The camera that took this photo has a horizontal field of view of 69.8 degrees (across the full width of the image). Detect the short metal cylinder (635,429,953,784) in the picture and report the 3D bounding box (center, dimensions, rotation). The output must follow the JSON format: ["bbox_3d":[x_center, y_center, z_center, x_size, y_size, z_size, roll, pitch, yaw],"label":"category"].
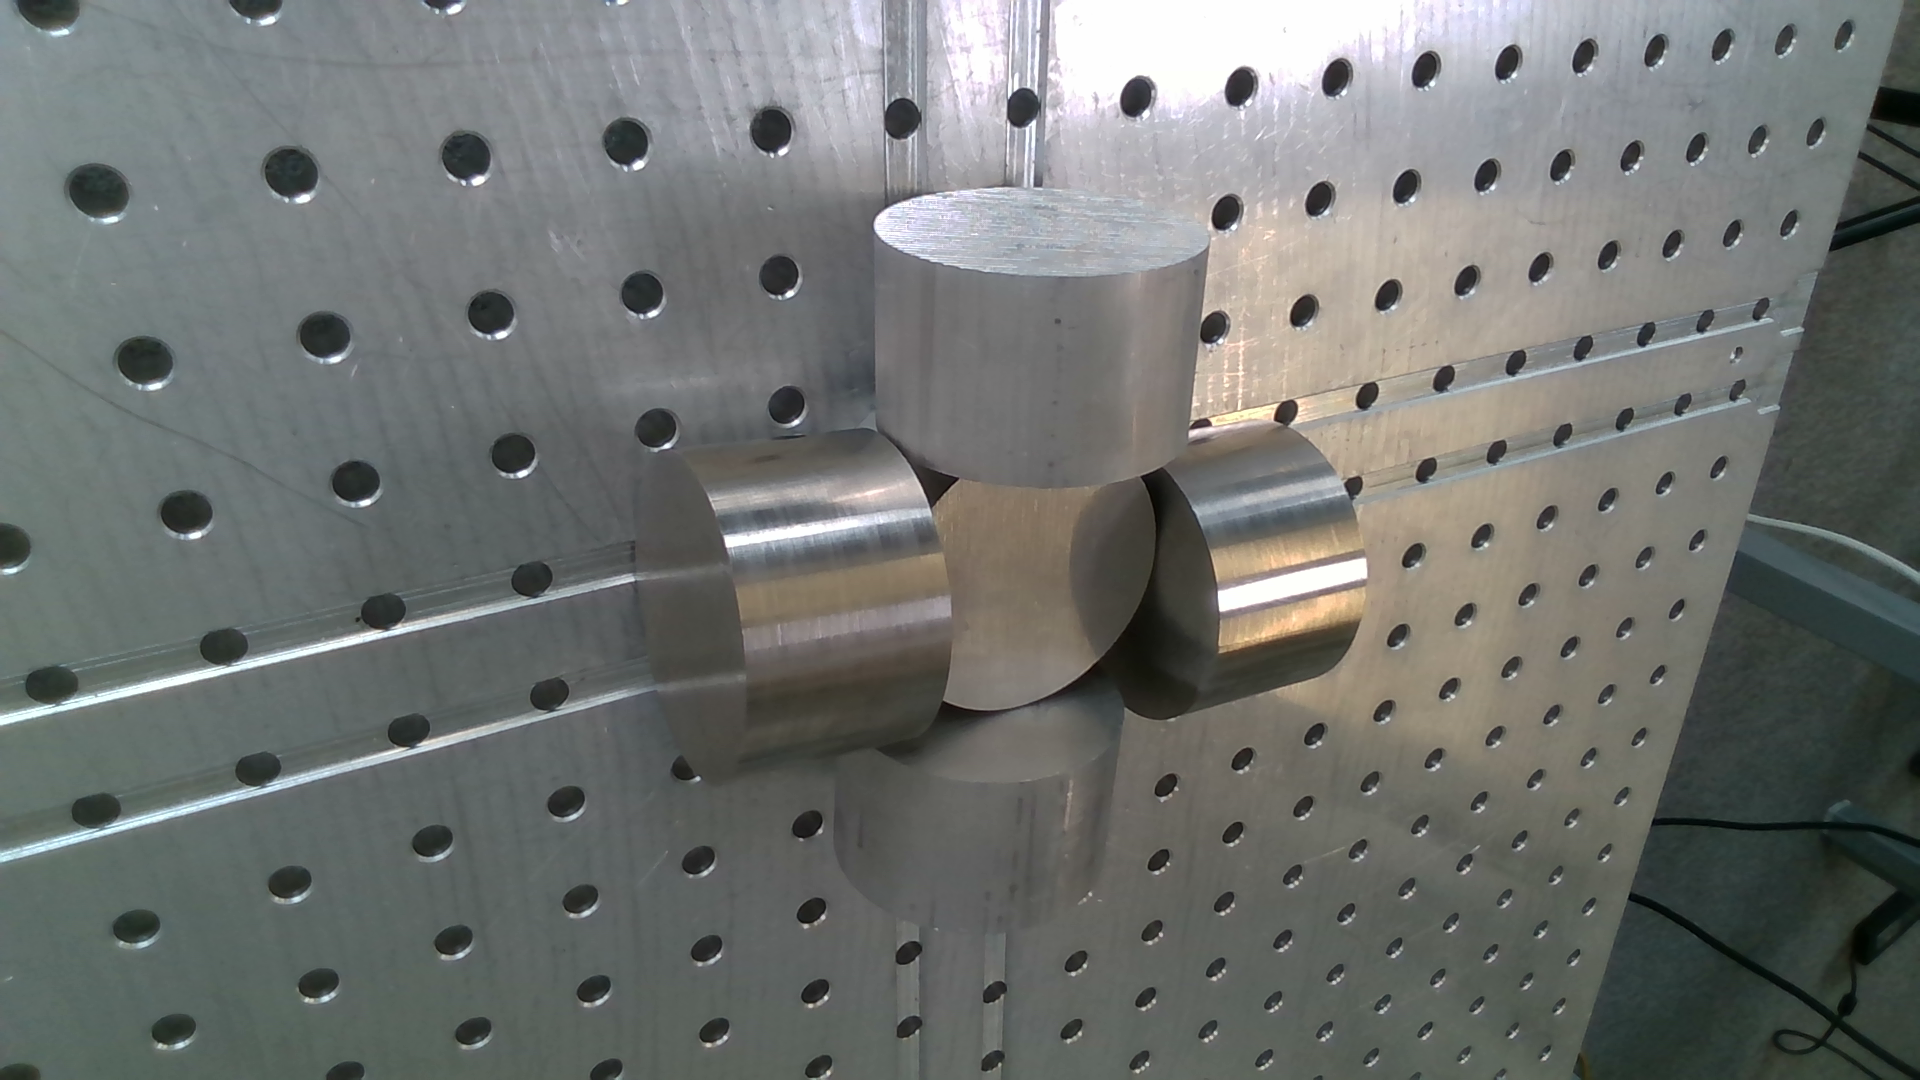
[{"bbox_3d":[-0.043,0.015,0.337,0.050,0.080,0.080,-9,119,-28],"label":"short metal cylinder"}]

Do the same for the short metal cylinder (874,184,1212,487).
[{"bbox_3d":[0.019,-0.053,0.340,0.080,0.080,0.050,-13,122,-26],"label":"short metal cylinder"}]

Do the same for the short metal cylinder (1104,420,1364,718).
[{"bbox_3d":[0.071,0.007,0.404,0.050,0.080,0.080,-12,120,-27],"label":"short metal cylinder"}]

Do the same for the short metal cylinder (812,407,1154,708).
[{"bbox_3d":[0.006,-0.001,0.380,0.080,0.050,0.080,-15,123,-25],"label":"short metal cylinder"}]

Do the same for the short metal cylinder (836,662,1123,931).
[{"bbox_3d":[0.004,0.065,0.395,0.080,0.080,0.050,-11,120,-27],"label":"short metal cylinder"}]
